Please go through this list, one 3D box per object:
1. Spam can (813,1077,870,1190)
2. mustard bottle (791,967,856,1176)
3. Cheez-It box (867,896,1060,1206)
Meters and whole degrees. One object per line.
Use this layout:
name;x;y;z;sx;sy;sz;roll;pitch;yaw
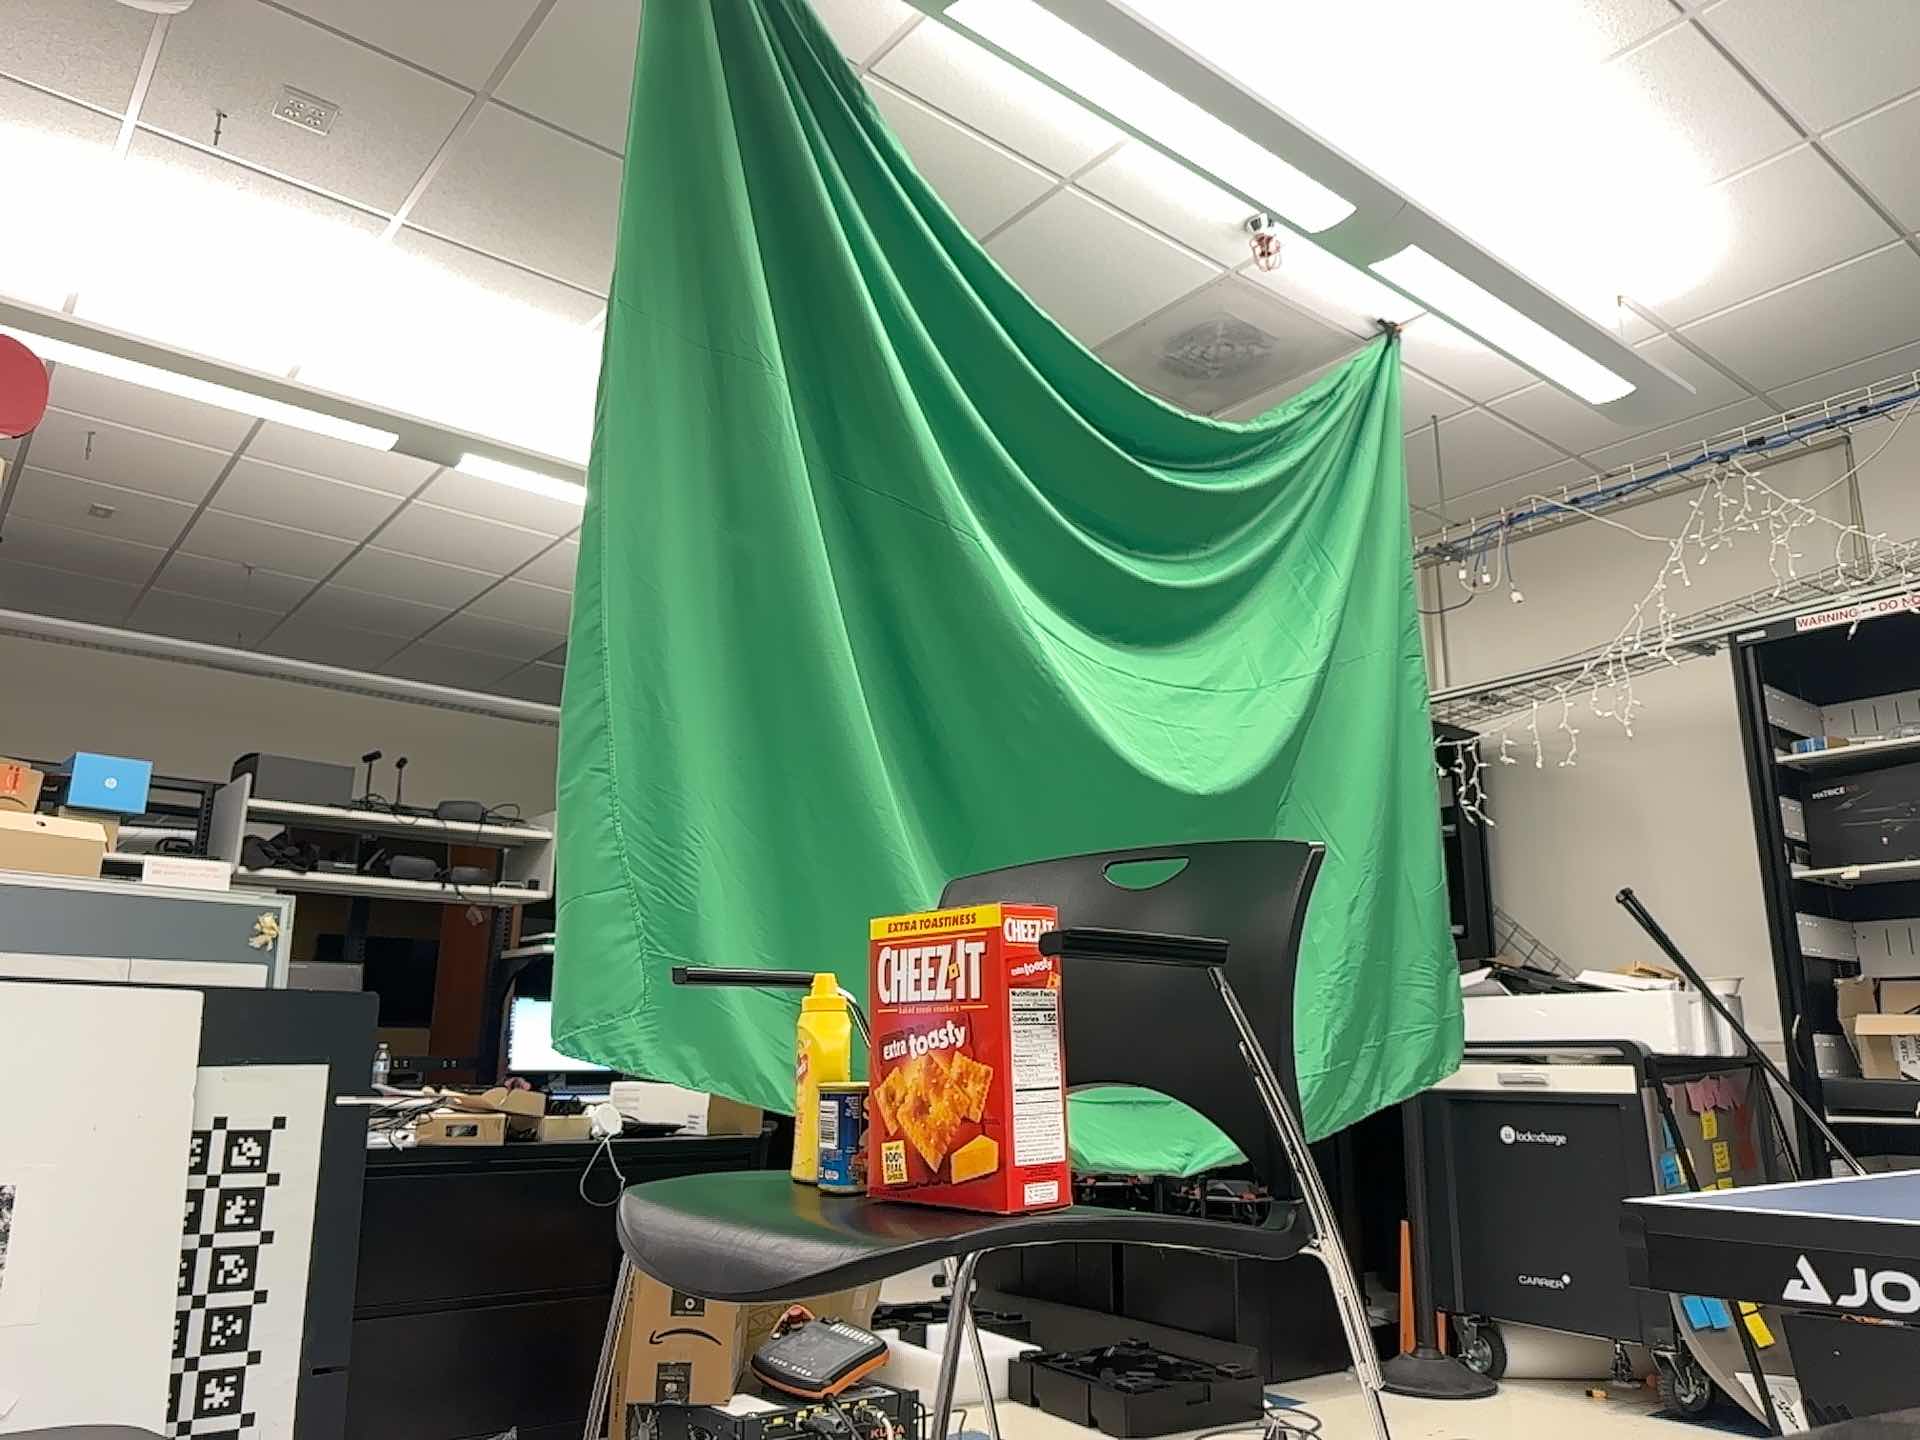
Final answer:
Spam can;-0.075;0.355;1.170;0.100;0.083;0.056;6;-12;-35
mustard bottle;-0.126;0.322;1.252;0.054;0.184;0.092;3;-11;-22
Cheez-It box;-0.002;0.256;1.059;0.062;0.214;0.159;10;-16;-36
